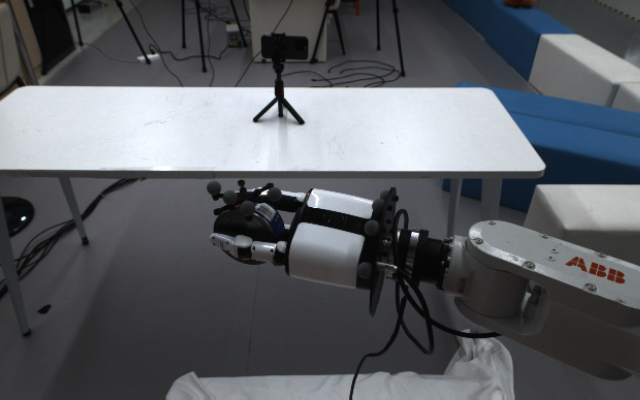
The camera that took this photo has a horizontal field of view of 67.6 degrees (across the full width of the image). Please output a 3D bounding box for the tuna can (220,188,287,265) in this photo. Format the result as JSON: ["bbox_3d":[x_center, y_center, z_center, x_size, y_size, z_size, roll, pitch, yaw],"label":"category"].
[{"bbox_3d":[-0.087,0.038,0.616,0.085,0.085,0.034,11,34,12],"label":"tuna can"}]
